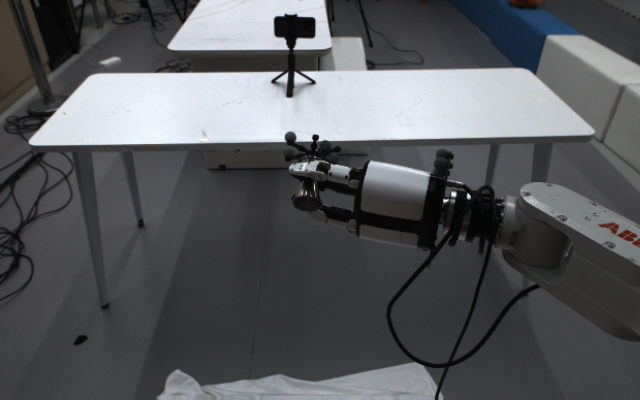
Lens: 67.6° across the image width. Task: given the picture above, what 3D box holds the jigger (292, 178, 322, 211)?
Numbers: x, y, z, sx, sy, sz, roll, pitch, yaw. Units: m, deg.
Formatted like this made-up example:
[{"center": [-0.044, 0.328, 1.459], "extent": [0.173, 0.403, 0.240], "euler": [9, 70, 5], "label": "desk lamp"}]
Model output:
[{"center": [-0.016, -0.027, 0.684], "extent": [0.043, 0.043, 0.071], "euler": [4, 60, 2], "label": "jigger"}]
